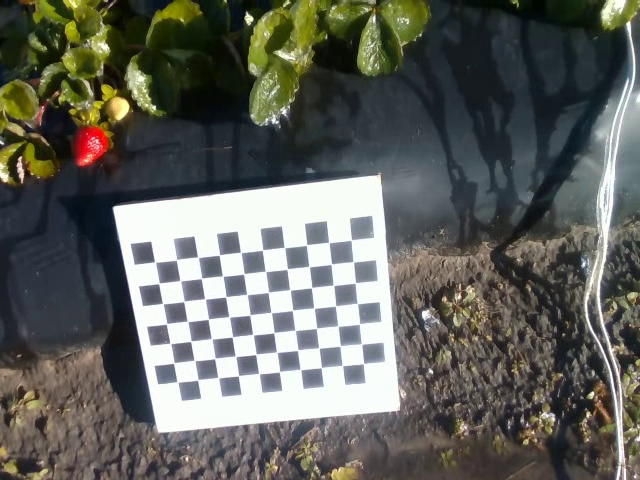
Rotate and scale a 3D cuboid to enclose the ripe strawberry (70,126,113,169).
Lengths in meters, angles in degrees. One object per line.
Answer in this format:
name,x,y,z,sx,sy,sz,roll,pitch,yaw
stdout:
ripe strawberry,-0.193,-0.073,0.586,0.039,0.040,0.039,-14,38,18
